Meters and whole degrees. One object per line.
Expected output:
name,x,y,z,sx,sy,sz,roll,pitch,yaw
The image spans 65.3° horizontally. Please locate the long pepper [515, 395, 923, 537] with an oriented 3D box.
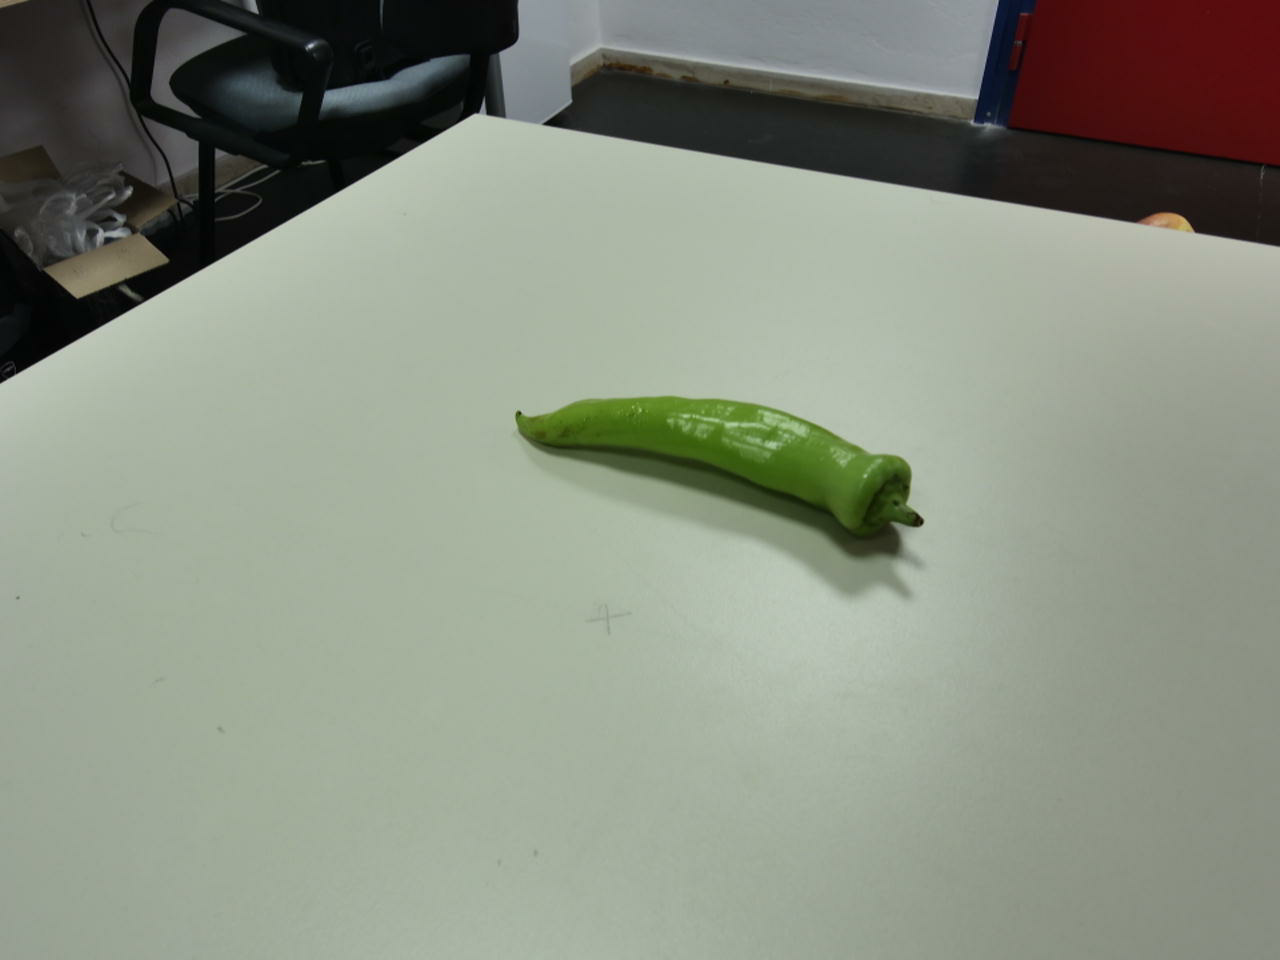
long pepper,0.031,-0.017,0.437,0.197,0.038,0.046,19,41,23
